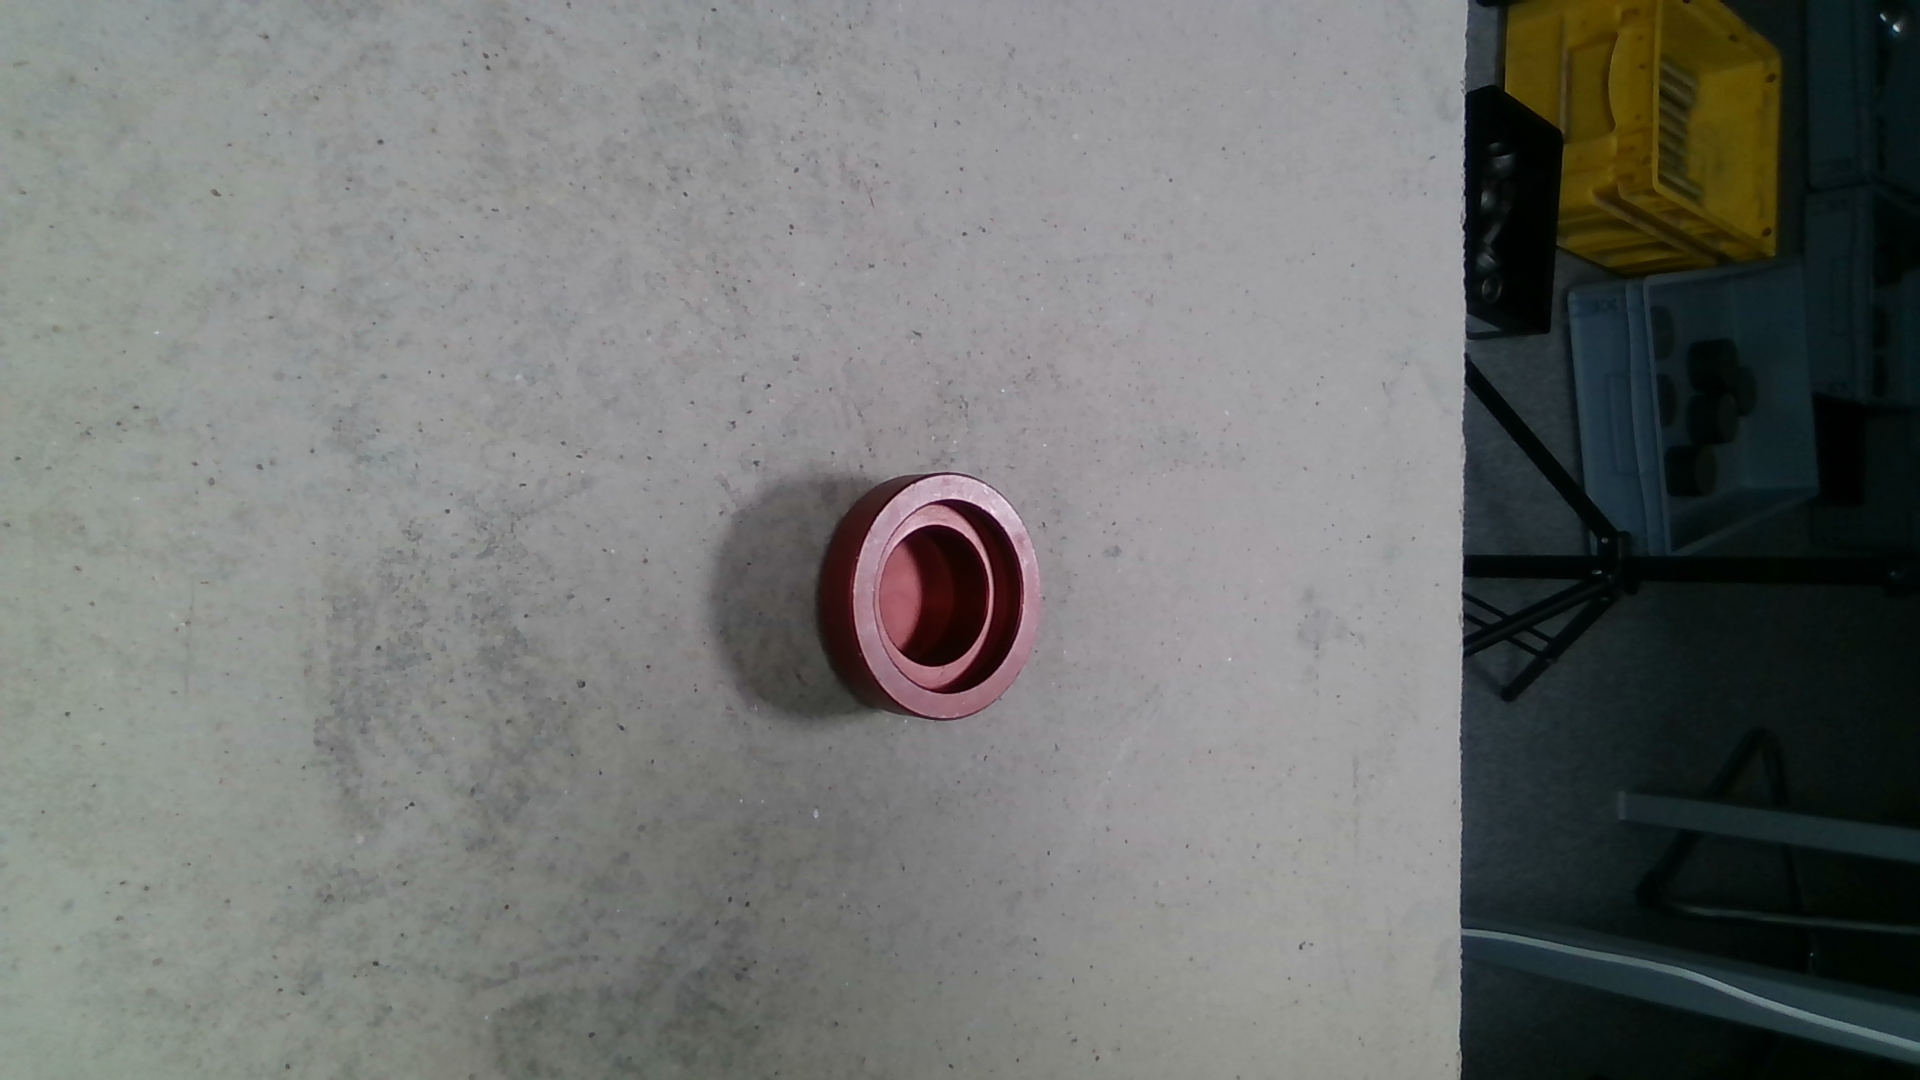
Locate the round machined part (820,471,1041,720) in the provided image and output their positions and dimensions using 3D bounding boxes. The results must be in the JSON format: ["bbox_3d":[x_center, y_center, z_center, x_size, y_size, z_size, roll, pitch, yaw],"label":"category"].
[{"bbox_3d":[-0.017,0.022,0.558,0.098,0.042,0.098,0,90,-40],"label":"round machined part"}]
